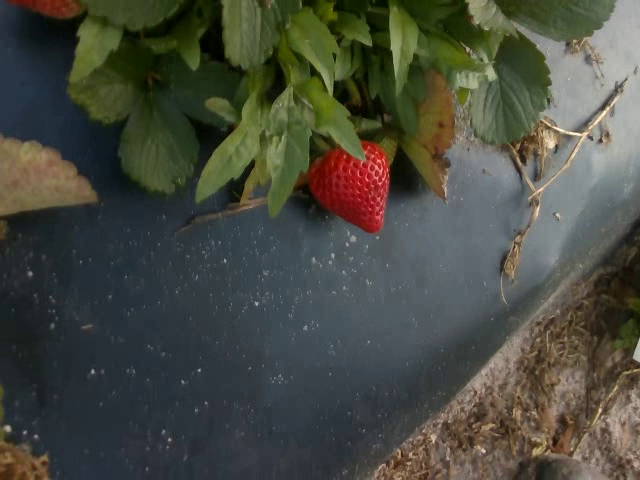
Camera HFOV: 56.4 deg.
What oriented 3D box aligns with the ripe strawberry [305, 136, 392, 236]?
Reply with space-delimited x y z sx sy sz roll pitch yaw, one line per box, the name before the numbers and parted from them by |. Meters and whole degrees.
ripe strawberry | 0.015 -0.025 0.286 0.043 0.051 0.042 -27 8 -25
